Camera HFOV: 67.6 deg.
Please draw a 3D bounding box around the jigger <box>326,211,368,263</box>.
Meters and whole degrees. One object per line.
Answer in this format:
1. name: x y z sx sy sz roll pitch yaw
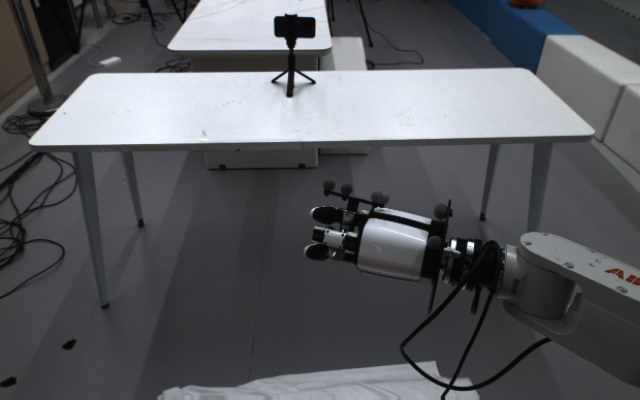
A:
1. jigger: 0.039 0.048 0.677 0.043 0.071 0.043 14 1 0
